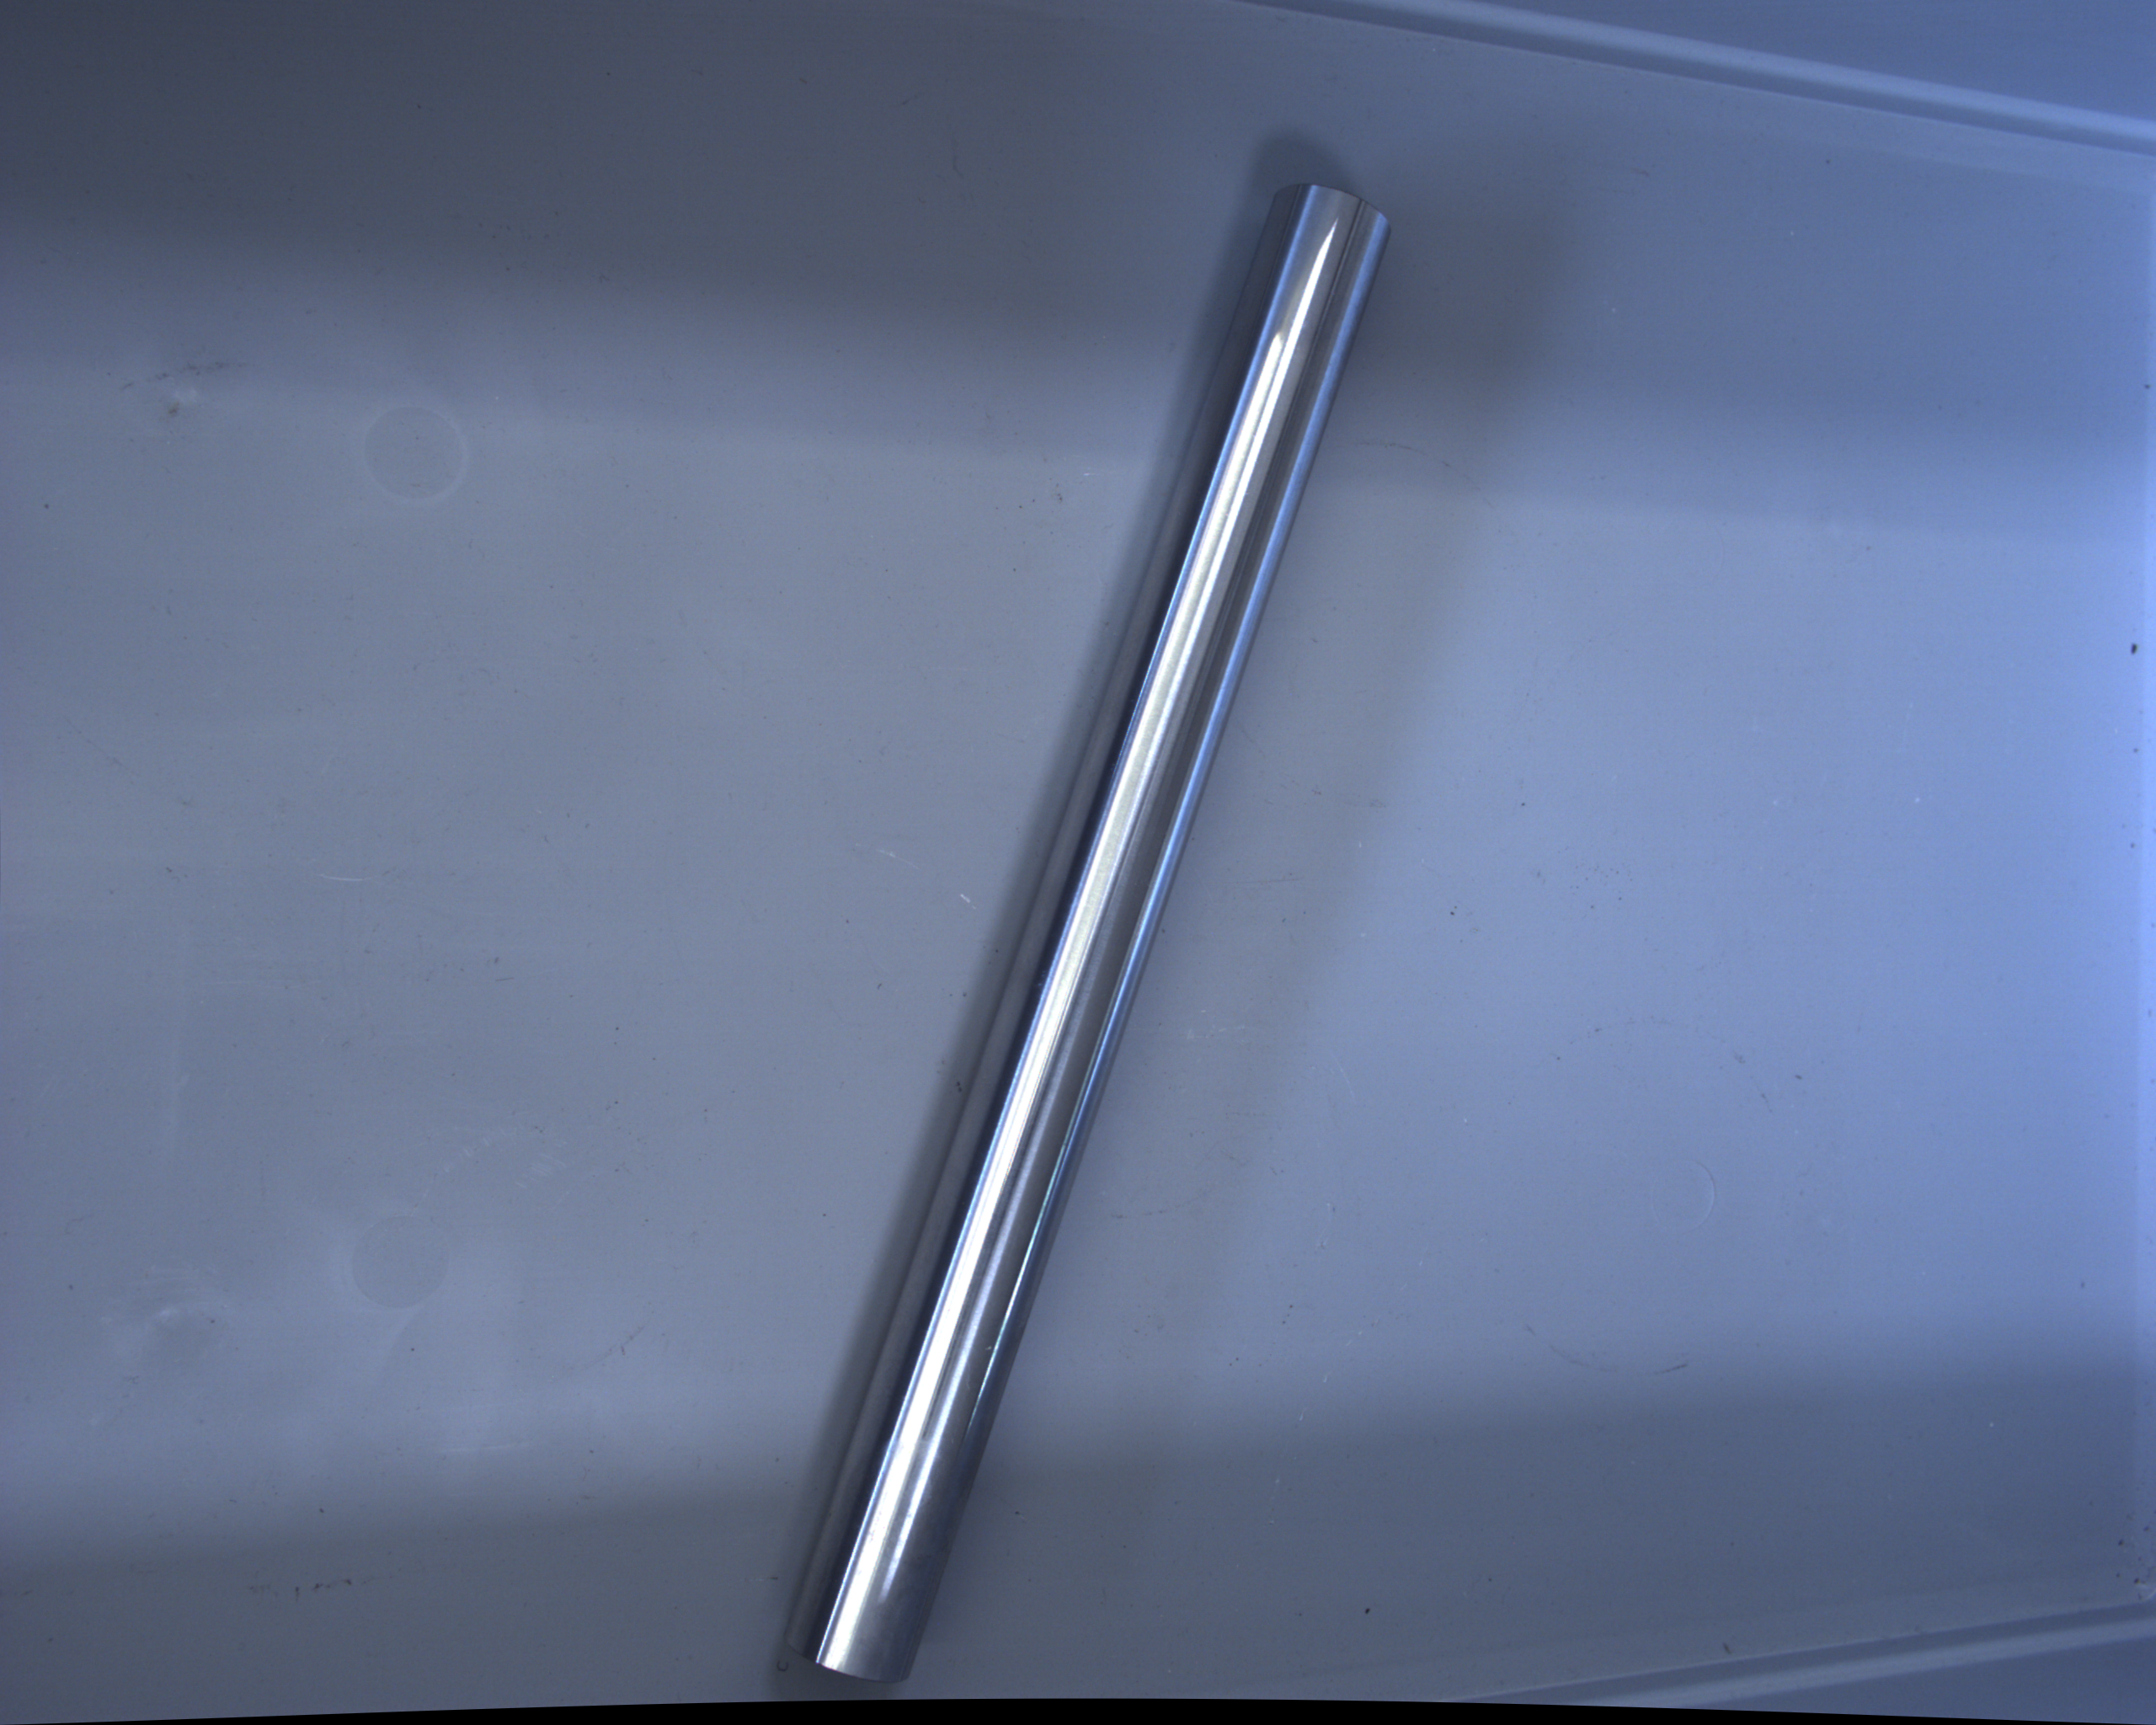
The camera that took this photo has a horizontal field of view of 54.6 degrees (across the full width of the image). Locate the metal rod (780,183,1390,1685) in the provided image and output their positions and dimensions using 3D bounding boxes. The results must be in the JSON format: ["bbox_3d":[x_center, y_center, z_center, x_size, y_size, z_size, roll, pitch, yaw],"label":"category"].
[{"bbox_3d":[0.004,0.008,0.409,0.025,0.025,0.299,21,83,-19],"label":"metal rod"}]
